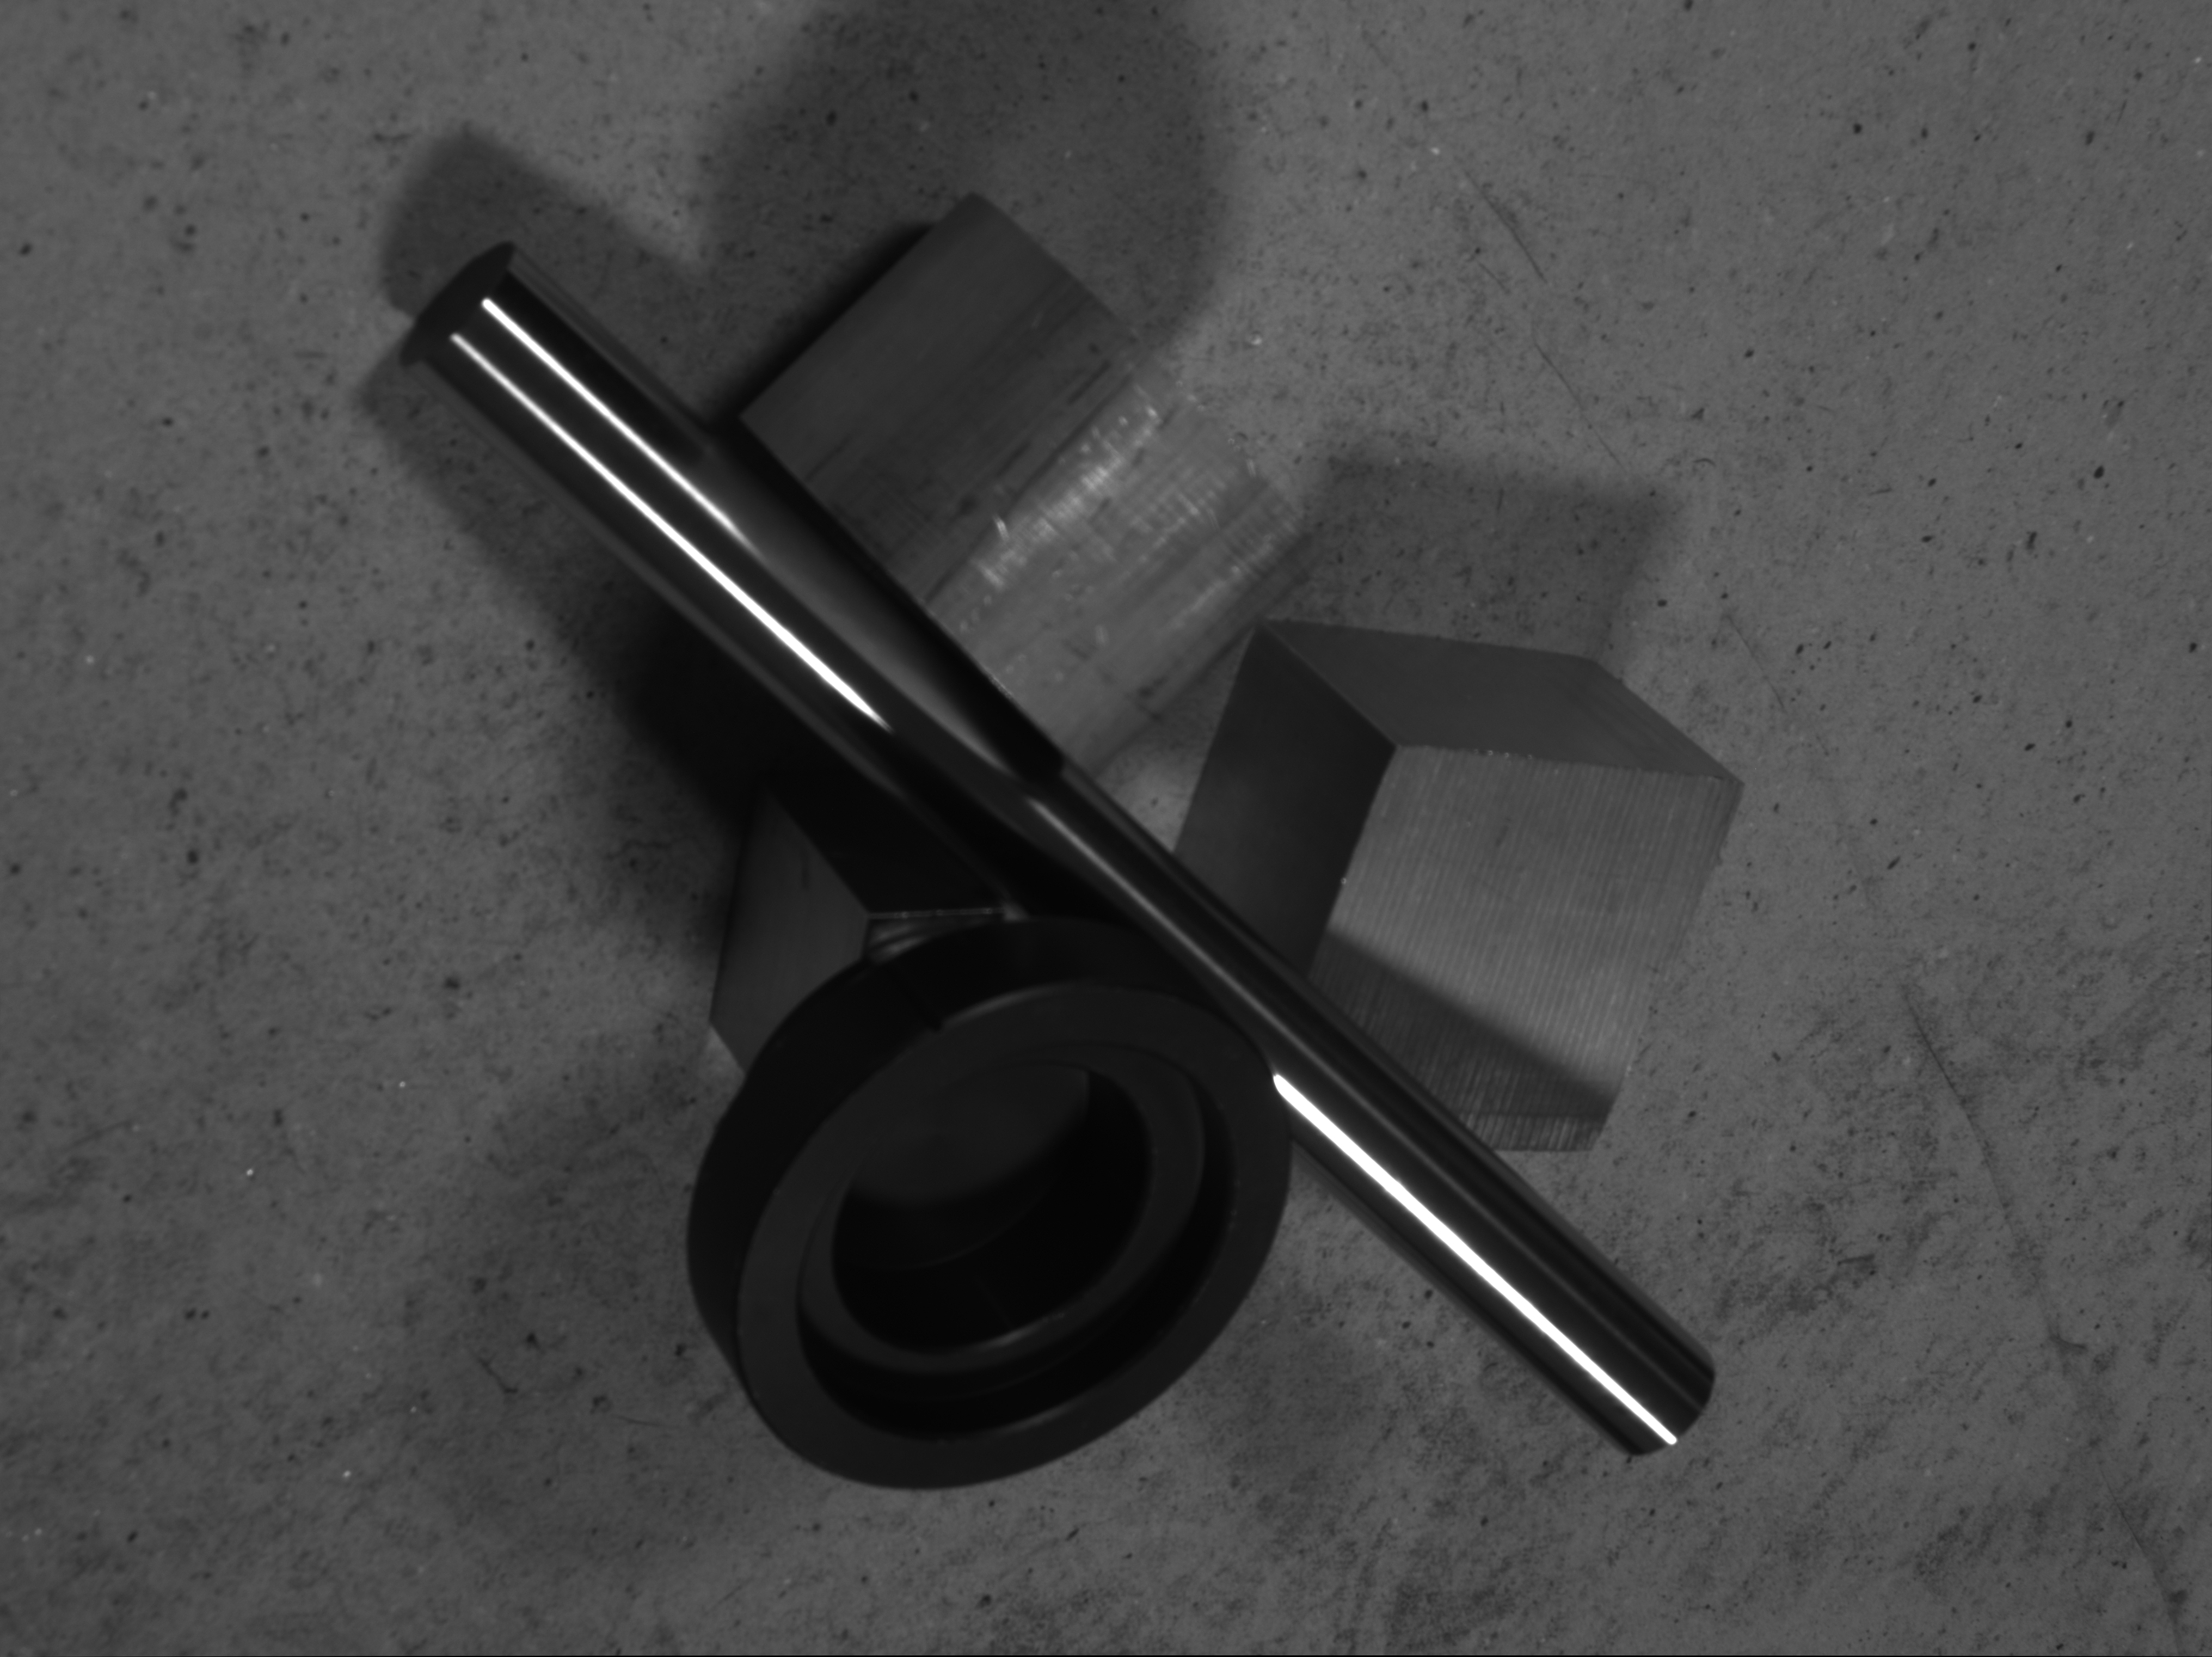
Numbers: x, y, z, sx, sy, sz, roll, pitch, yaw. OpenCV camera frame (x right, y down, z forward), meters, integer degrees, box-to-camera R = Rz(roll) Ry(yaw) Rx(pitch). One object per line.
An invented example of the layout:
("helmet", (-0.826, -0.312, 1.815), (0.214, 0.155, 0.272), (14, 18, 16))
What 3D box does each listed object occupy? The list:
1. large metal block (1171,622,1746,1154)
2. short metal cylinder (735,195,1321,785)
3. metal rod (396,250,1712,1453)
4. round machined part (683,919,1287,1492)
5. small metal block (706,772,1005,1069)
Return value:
("large metal block", (0.059, 0.012, 0.677), (0.080, 0.050, 0.080), (5, 116, -32))
("short metal cylinder", (-0.012, -0.053, 0.575), (0.050, 0.080, 0.080), (-44, 130, 1))
("metal rod", (0.002, 0.014, 0.612), (0.025, 0.025, 0.301), (-46, 116, 3))
("round machined part", (-0.023, 0.056, 0.597), (0.098, 0.042, 0.098), (-15, 126, -21))
("small metal block", (-0.044, 0.024, 0.625), (0.025, 0.050, 0.050), (-2, 119, -29))
